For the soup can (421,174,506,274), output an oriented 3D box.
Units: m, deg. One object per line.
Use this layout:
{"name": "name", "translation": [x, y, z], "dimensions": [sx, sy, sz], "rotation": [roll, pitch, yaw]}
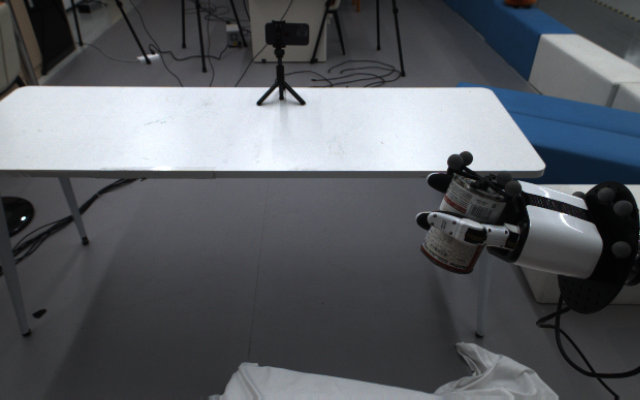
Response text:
{"name": "soup can", "translation": [0.172, 0.027, 0.576], "dimensions": [0.067, 0.101, 0.067], "rotation": [17, 21, -7]}
